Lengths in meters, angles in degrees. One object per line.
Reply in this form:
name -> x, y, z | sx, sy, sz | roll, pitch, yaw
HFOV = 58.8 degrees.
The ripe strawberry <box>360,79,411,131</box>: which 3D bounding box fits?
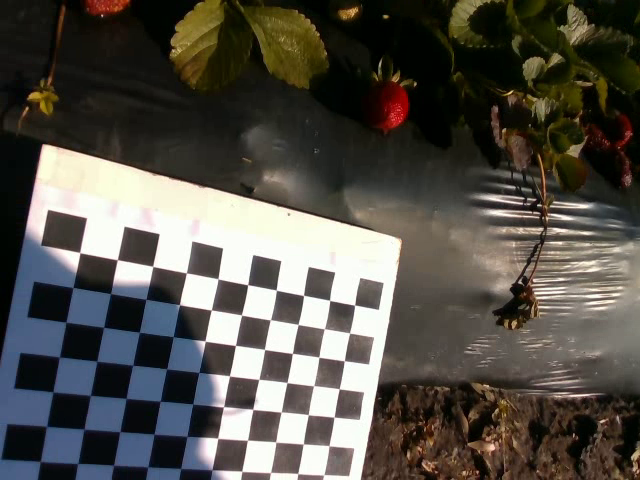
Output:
ripe strawberry -> 0.051, -0.100, 0.437 | 0.043, 0.043, 0.050 | -31, 20, 22
